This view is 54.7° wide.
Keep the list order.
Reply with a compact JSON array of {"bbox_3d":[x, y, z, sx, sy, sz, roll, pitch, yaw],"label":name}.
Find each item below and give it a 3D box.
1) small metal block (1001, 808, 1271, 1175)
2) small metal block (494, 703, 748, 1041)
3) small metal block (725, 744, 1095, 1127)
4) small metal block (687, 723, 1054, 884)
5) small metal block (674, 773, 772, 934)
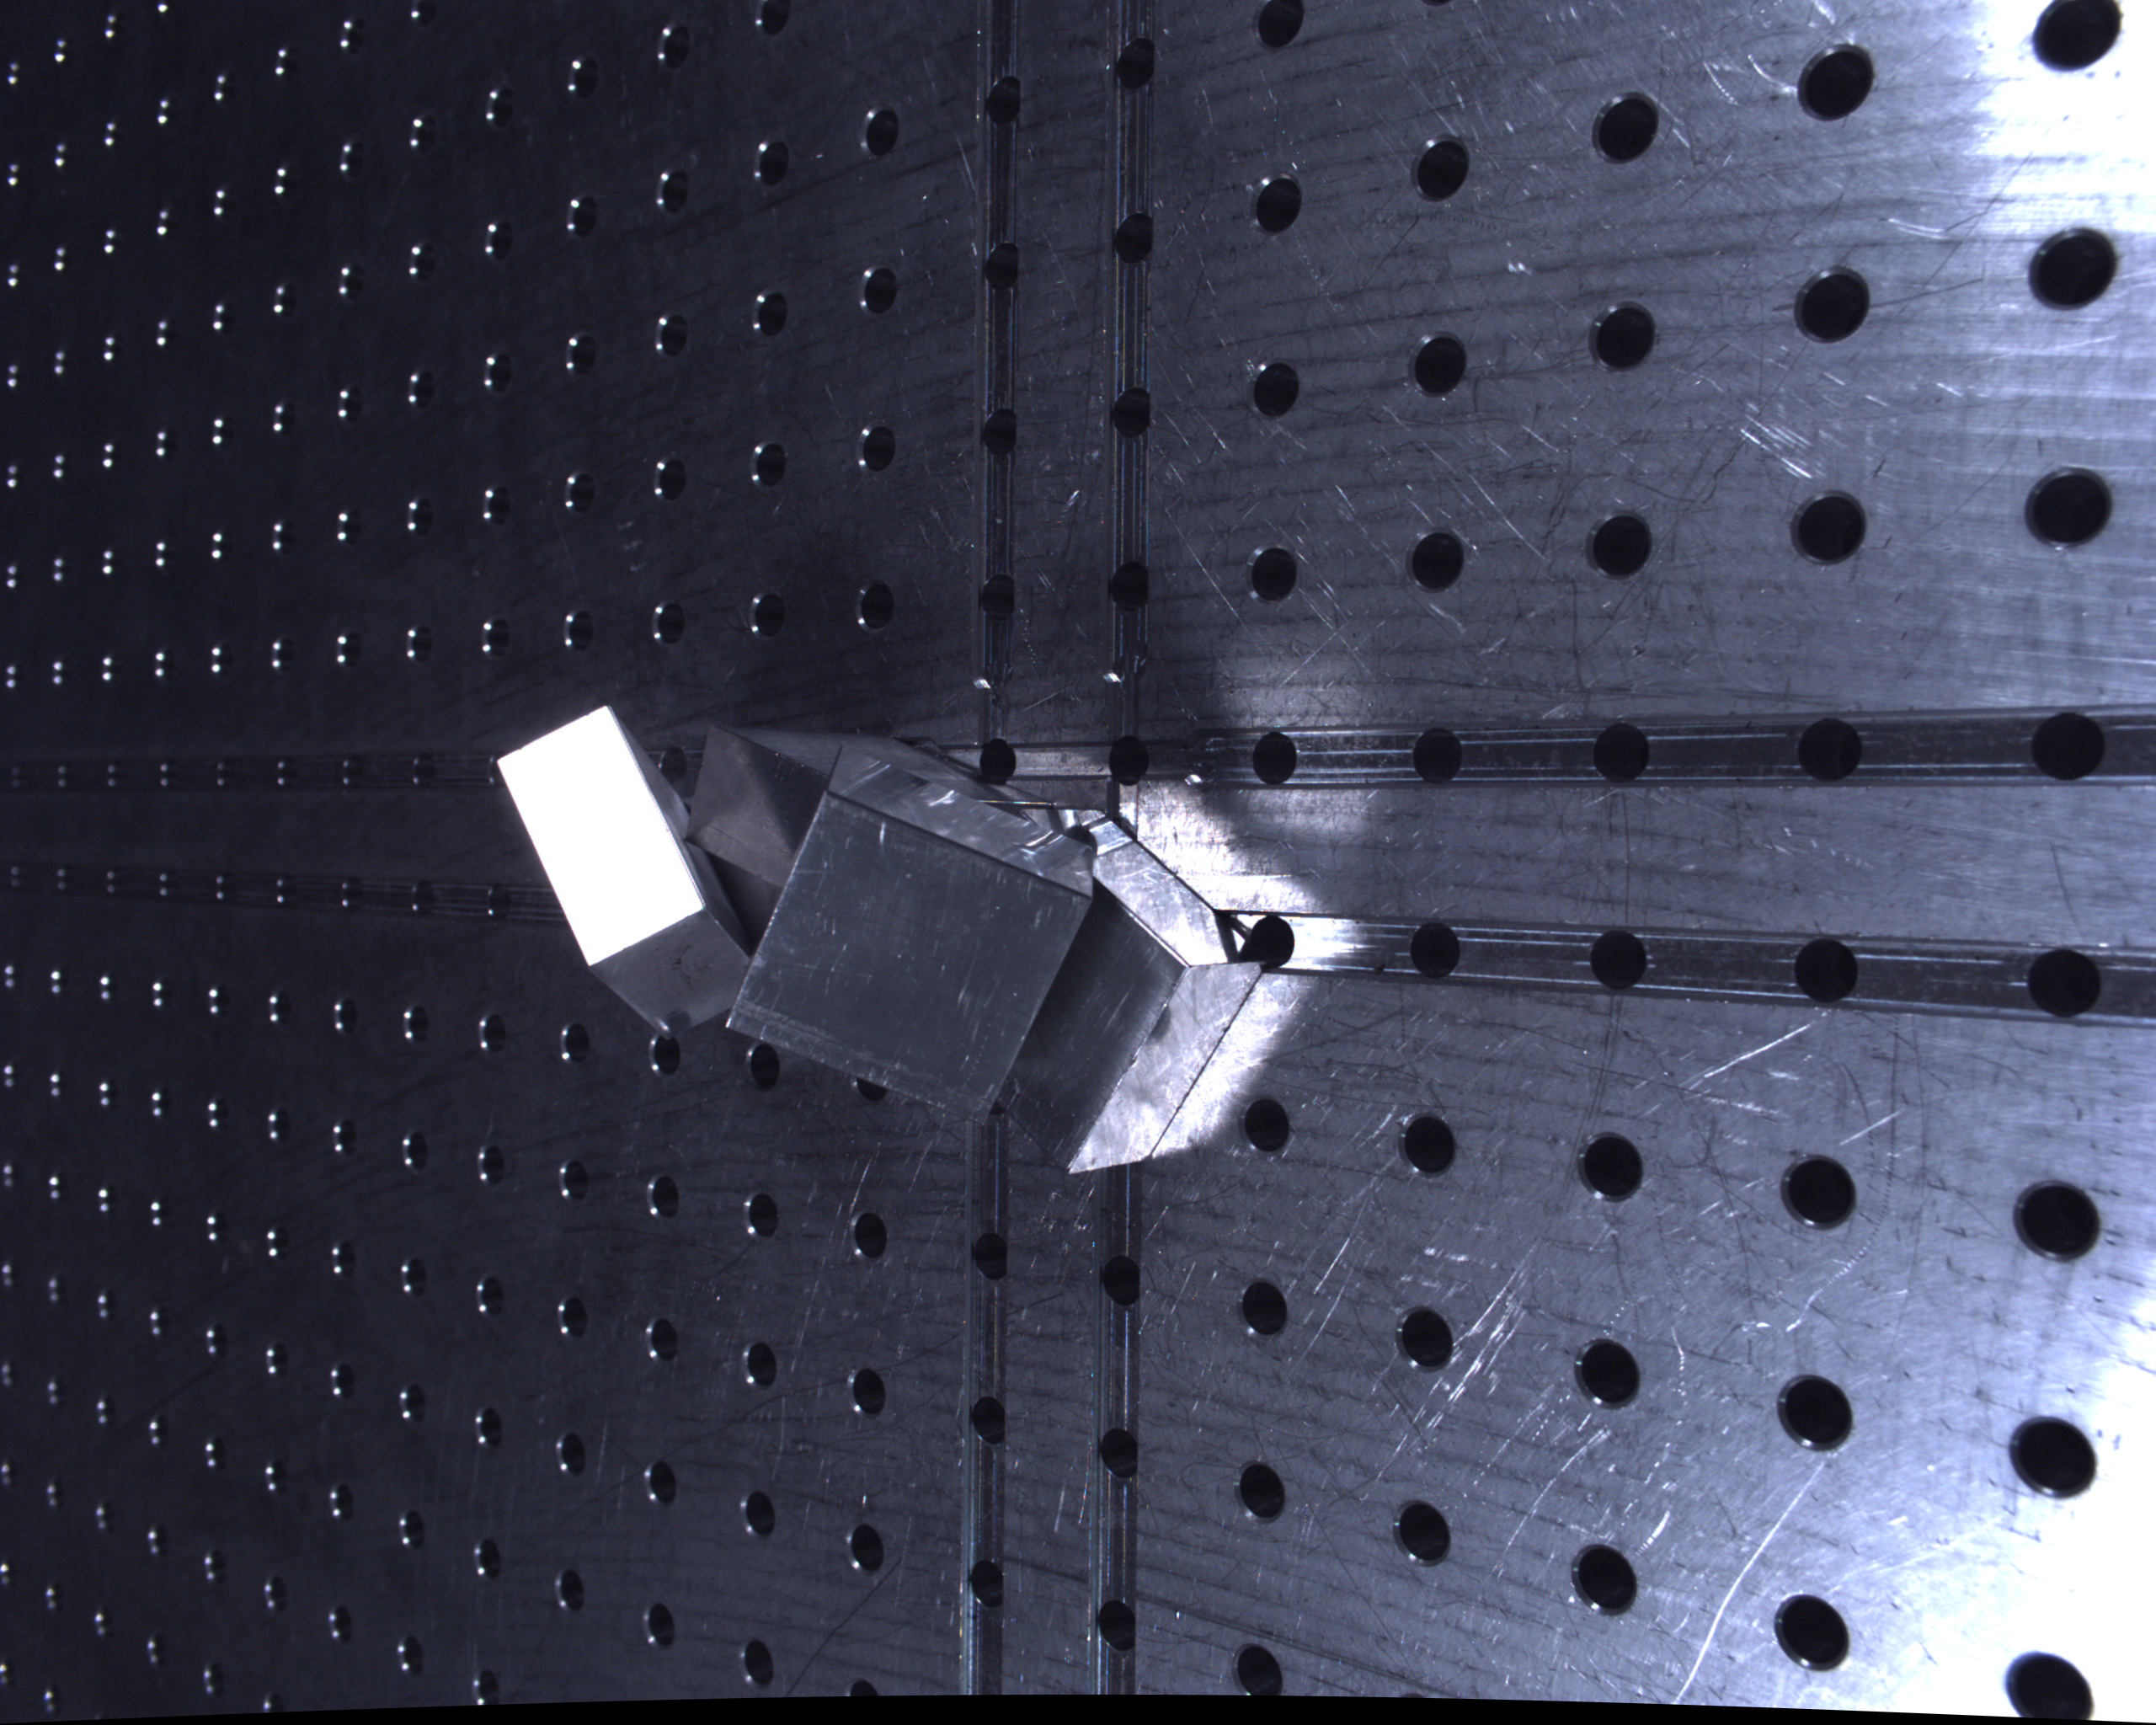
[{"bbox_3d":[0.001,0.024,0.407,0.050,0.025,0.050,43,116,31],"label":"small metal block"},{"bbox_3d":[-0.091,0.003,0.429,0.025,0.050,0.050,-28,68,-4],"label":"small metal block"},{"bbox_3d":[-0.030,0.013,0.381,0.050,0.025,0.050,22,109,-9],"label":"small metal block"},{"bbox_3d":[-0.042,-0.008,0.426,0.050,0.050,0.025,24,105,37],"label":"small metal block"},{"bbox_3d":[-0.074,0.005,0.468,0.050,0.025,0.050,-24,75,37],"label":"small metal block"}]
